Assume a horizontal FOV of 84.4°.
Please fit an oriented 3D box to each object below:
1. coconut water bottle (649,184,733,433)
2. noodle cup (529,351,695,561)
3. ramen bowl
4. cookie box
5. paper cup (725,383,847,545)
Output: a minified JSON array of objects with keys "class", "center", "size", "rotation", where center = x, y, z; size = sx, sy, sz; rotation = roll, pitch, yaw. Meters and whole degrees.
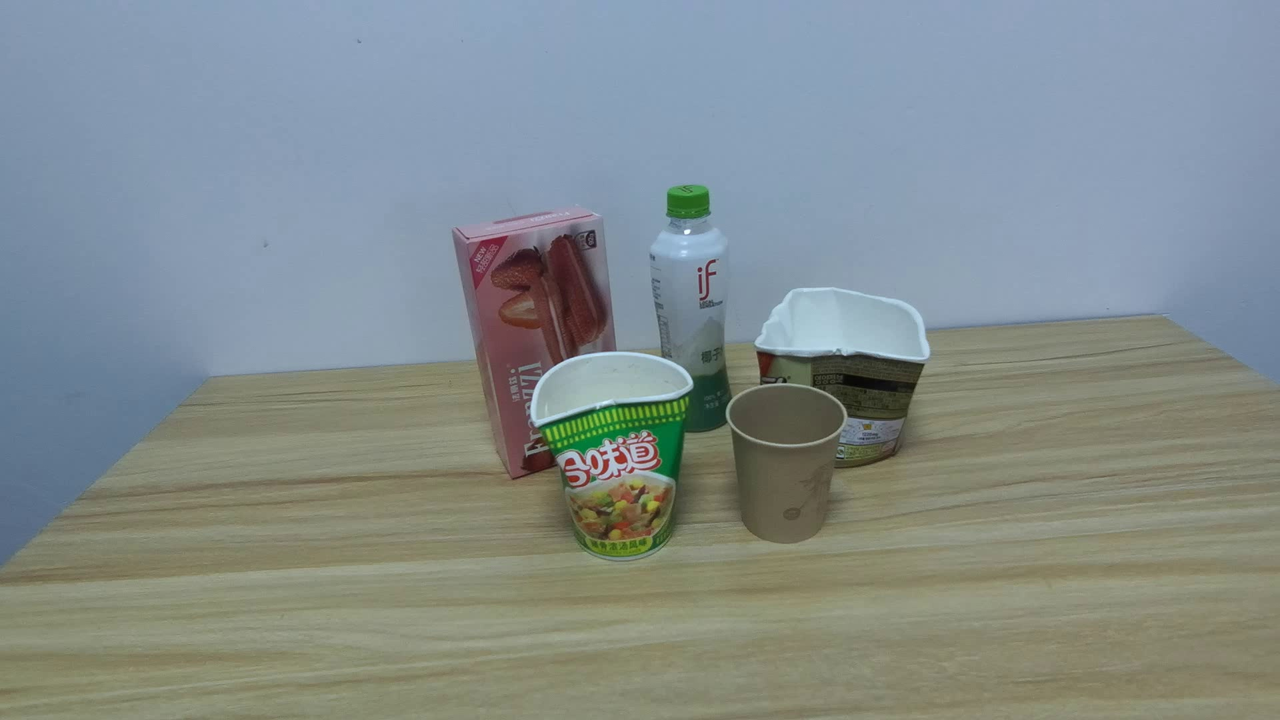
[{"class":"coconut water bottle","center":[0.041,-0.038,0.549],"size":[0.063,0.189,0.063],"rotation":[-3,26,2]},{"class":"noodle cup","center":[-0.012,0.062,0.451],"size":[0.093,0.109,0.087],"rotation":[-1,28,7]},{"class":"ramen bowl","center":[0.149,0.006,0.547],"size":[0.113,0.098,0.134],"rotation":[0,28,10]},{"class":"cookie box","center":[-0.070,-0.012,0.525],"size":[0.096,0.185,0.048],"rotation":[-16,27,-21]},{"class":"paper cup","center":[0.092,0.068,0.451],"size":[0.075,0.082,0.075],"rotation":[-3,27,2]}]
